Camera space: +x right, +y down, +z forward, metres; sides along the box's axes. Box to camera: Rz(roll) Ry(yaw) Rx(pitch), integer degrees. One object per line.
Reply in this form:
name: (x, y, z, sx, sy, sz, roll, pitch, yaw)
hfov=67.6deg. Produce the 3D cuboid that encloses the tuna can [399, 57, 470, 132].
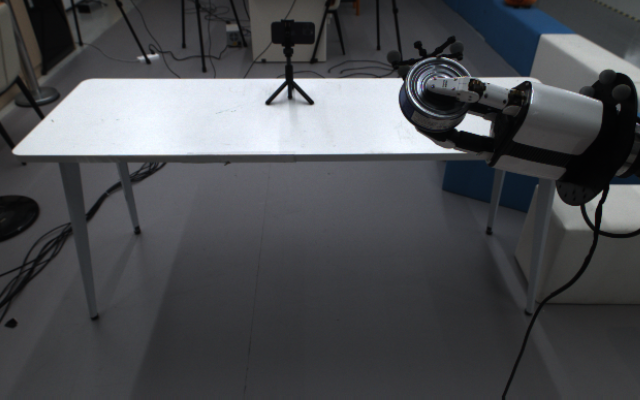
tuna can: (0.142, -0.129, 0.579, 0.085, 0.034, 0.085, 0, 72, -1)
